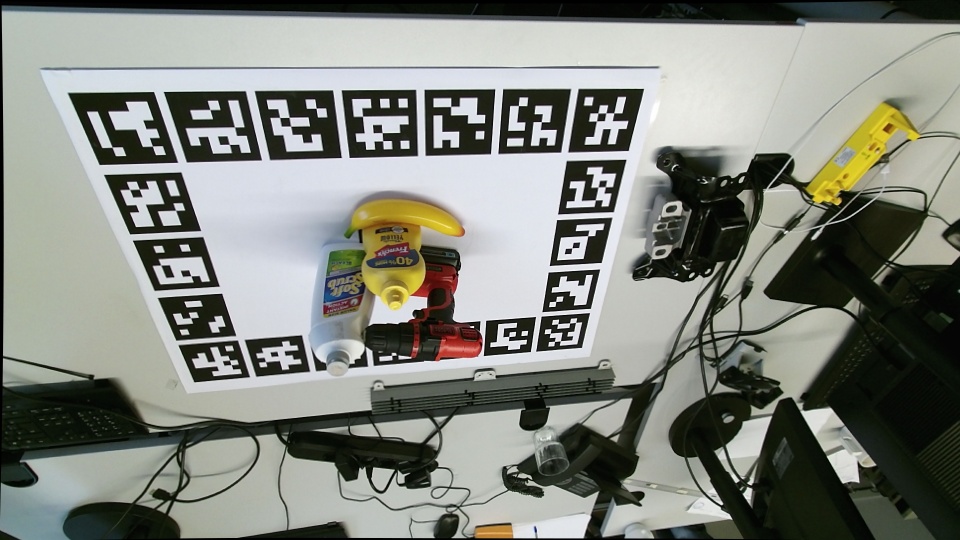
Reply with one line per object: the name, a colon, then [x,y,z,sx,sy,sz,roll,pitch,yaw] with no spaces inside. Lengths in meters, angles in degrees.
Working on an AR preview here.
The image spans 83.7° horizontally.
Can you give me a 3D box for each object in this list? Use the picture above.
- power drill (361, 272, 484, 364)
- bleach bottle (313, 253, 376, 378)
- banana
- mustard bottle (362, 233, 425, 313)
power drill: [-0.093,0.078,0.852,0.185,0.186,0.057,7,124,-15]
bleach bottle: [-0.202,0.076,0.824,0.103,0.249,0.068,-2,131,-11]
banana: [-0.126,-0.064,0.875,0.198,0.038,0.074,-1,124,-14]
mustard bottle: [-0.133,0.010,0.821,0.096,0.190,0.058,-3,125,-9]
